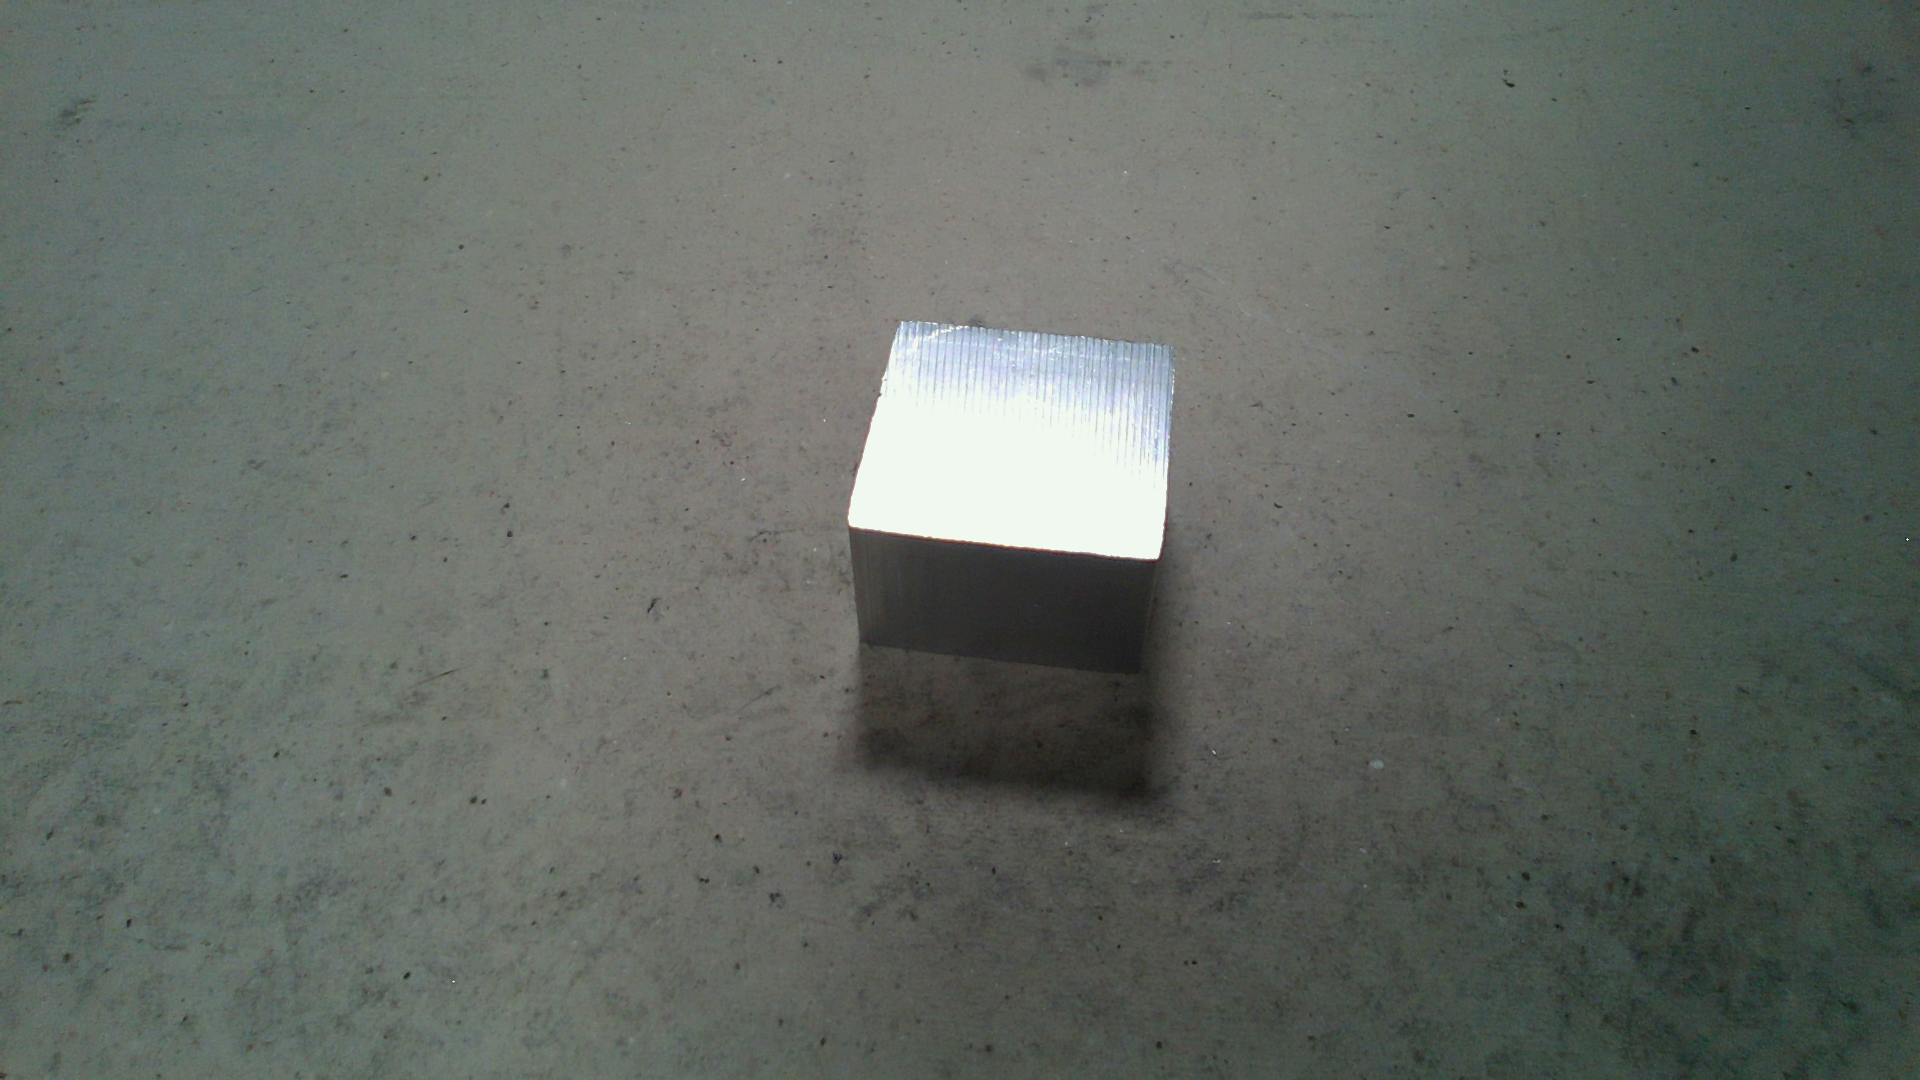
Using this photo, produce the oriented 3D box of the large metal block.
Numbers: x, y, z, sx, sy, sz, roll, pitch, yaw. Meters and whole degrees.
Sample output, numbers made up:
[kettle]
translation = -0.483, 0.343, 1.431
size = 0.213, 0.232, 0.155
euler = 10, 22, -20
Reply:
[large metal block]
translation = 0.016, -0.014, 0.387
size = 0.080, 0.050, 0.080
euler = 6, 50, 5
